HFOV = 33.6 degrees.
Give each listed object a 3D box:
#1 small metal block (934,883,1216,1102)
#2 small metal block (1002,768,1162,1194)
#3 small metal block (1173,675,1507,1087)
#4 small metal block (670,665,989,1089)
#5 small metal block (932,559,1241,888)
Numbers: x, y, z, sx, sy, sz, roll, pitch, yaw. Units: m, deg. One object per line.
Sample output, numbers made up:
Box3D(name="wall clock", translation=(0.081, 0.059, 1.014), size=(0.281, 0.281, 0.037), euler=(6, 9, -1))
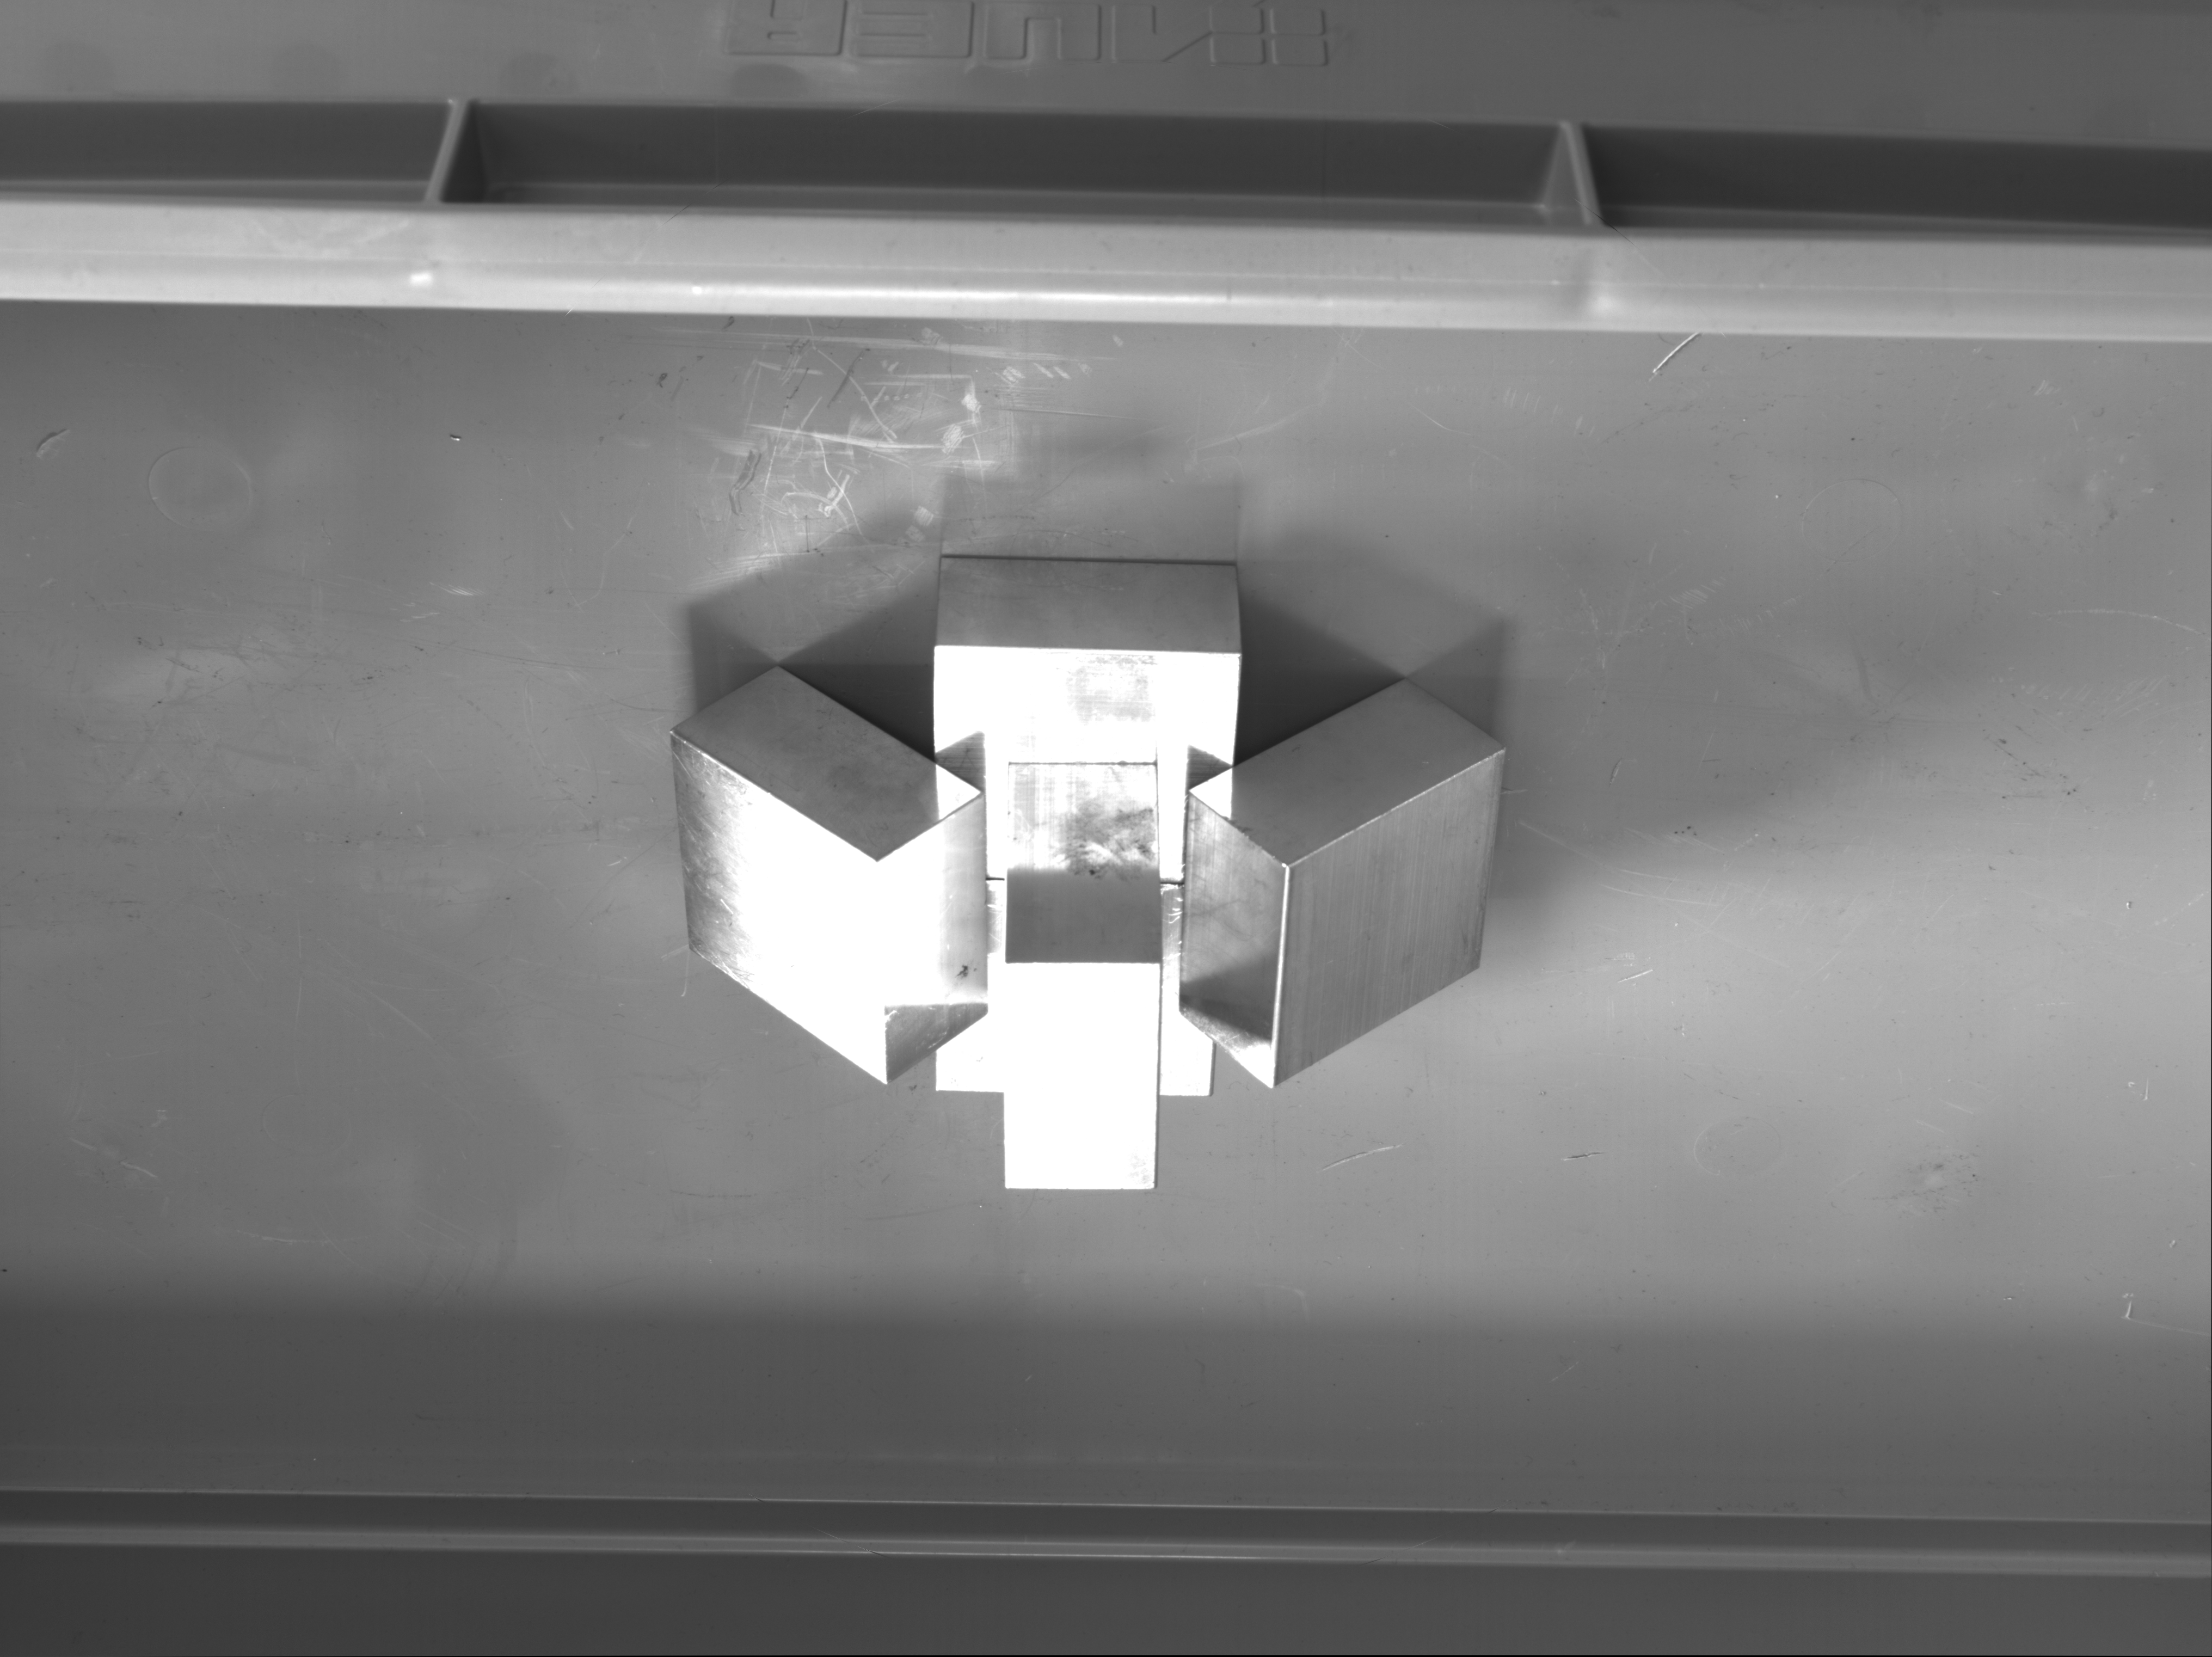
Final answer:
Box3D(name="small metal block", translation=(-0.005, 0.021, 0.655), size=(0.050, 0.025, 0.050), euler=(2, 130, -1))
Box3D(name="small metal block", translation=(-0.004, 0.025, 0.609), size=(0.025, 0.050, 0.050), euler=(0, 130, -1))
Box3D(name="small metal block", translation=(0.040, 0.009, 0.629), size=(0.050, 0.025, 0.050), euler=(-27, 138, -30))
Box3D(name="small metal block", translation=(-0.047, 0.008, 0.626), size=(0.050, 0.025, 0.050), euler=(32, 139, 31))
Box3D(name="small metal block", translation=(-0.004, -0.017, 0.622), size=(0.050, 0.025, 0.050), euler=(1, 130, -2))
